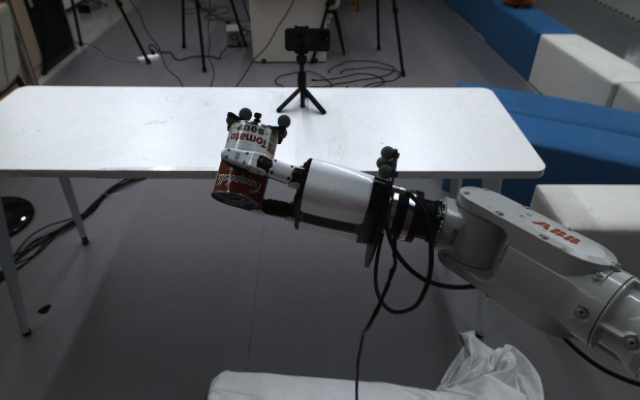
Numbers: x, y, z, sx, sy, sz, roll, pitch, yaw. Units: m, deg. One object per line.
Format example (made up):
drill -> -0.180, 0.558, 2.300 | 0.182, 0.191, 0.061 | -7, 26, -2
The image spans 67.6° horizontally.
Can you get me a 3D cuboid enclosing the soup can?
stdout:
soup can -> -0.098, -0.045, 0.640 | 0.067, 0.067, 0.101 | 9, 74, 9
